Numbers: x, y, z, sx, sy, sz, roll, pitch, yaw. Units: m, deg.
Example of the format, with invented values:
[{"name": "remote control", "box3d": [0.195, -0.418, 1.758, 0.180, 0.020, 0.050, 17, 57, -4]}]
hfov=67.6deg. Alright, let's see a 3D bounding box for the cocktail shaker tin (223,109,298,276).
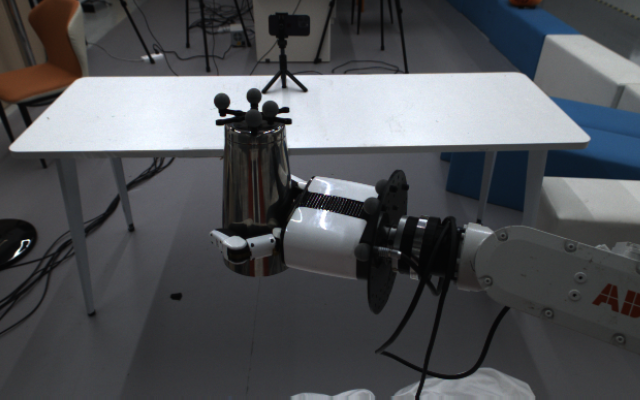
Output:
[{"name": "cocktail shaker tin", "box3d": [-0.070, -0.007, 0.560, 0.093, 0.170, 0.093, 1, 28, -1]}]
